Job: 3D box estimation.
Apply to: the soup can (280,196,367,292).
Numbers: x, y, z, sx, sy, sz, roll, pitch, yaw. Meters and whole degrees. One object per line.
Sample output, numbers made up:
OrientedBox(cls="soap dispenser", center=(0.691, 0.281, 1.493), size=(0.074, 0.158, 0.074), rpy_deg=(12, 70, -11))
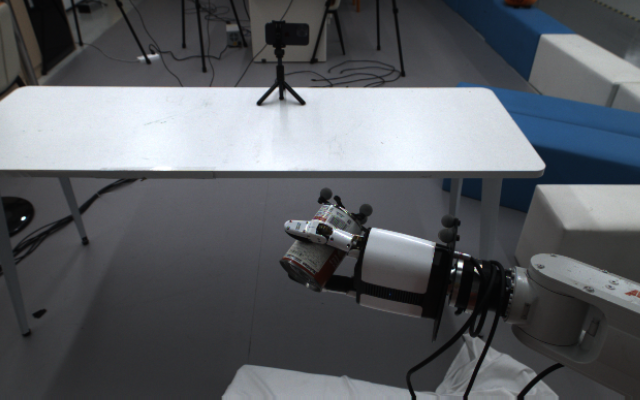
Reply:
OrientedBox(cls="soup can", center=(0.003, 0.062, 0.649), size=(0.067, 0.067, 0.101), rpy_deg=(25, 67, 30))
